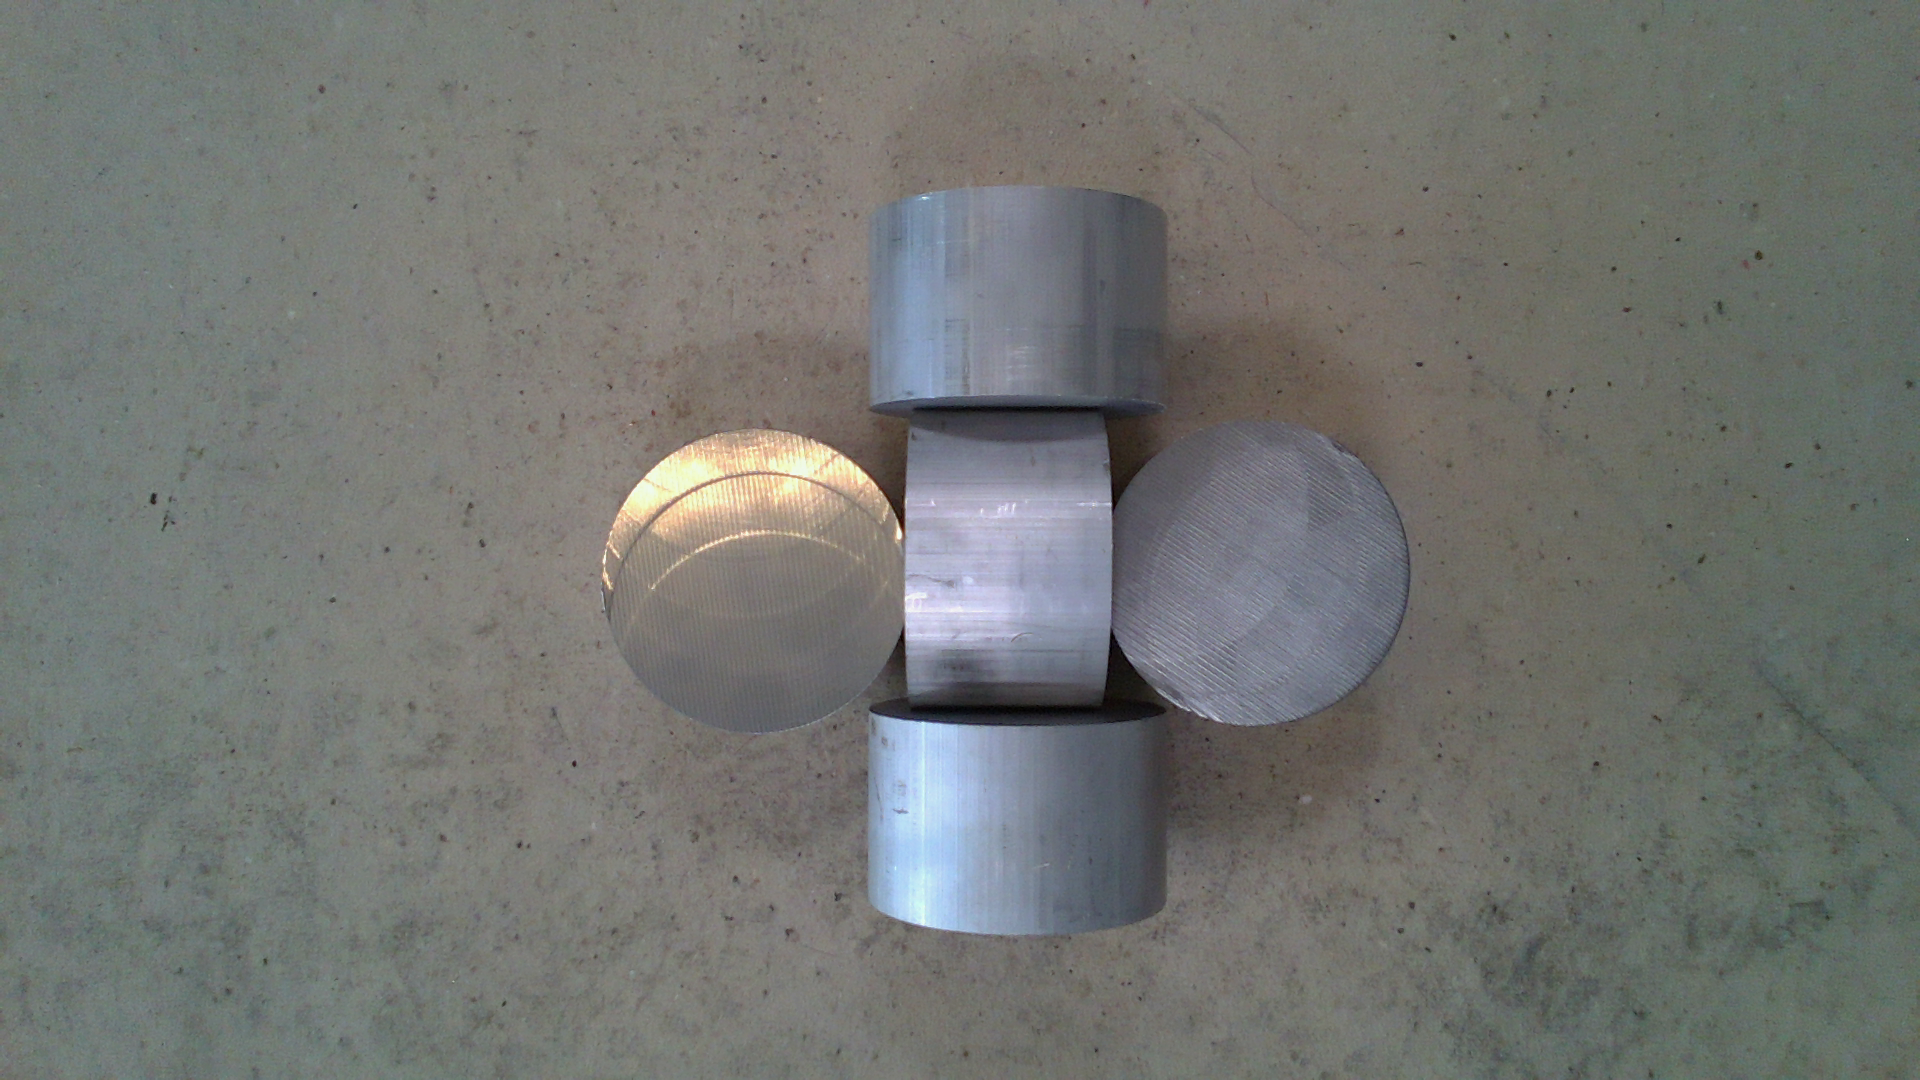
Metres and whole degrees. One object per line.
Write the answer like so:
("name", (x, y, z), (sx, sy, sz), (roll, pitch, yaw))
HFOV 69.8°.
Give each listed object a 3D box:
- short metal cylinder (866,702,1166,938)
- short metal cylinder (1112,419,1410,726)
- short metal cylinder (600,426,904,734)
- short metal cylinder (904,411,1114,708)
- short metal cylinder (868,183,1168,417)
("short metal cylinder", (0.015, 0.070, 0.369), (0.080, 0.080, 0.050), (0, 90, 0))
("short metal cylinder", (0.077, 0.008, 0.383), (0.080, 0.050, 0.080), (0, 91, 0))
("short metal cylinder", (-0.054, 0.010, 0.383), (0.080, 0.050, 0.080), (0, 90, -1))
("short metal cylinder", (0.012, 0.005, 0.368), (0.050, 0.080, 0.080), (0, 90, 0))
("short metal cylinder", (0.015, -0.060, 0.368), (0.080, 0.080, 0.050), (0, 90, 0))
